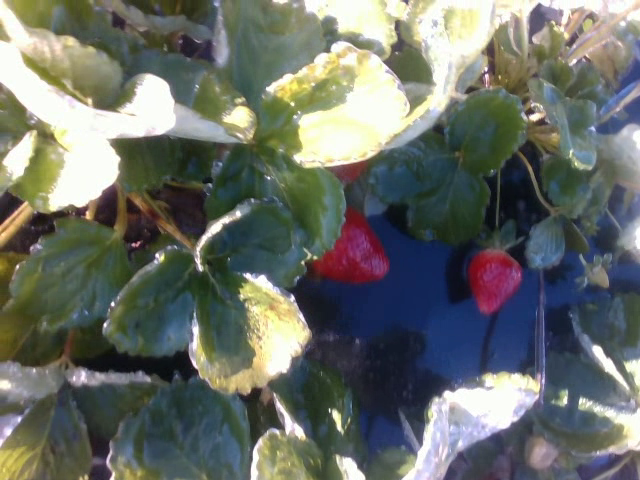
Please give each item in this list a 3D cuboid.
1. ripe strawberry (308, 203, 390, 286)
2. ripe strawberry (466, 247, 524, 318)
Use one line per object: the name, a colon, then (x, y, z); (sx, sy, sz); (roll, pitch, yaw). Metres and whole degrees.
ripe strawberry: (0.021, 0.010, 0.364); (0.056, 0.044, 0.040); (36, -2, -32)
ripe strawberry: (0.107, 0.027, 0.399); (0.039, 0.047, 0.040); (23, -6, -32)
